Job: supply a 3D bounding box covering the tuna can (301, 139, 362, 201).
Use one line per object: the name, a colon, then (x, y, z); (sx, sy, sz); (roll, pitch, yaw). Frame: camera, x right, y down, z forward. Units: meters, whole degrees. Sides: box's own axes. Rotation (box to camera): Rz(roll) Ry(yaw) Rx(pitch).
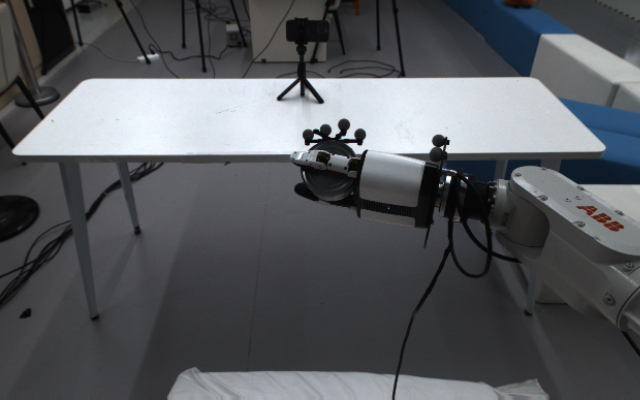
tuna can: (0.016, -0.043, 0.716); (0.085, 0.034, 0.085); (-3, 73, 10)
